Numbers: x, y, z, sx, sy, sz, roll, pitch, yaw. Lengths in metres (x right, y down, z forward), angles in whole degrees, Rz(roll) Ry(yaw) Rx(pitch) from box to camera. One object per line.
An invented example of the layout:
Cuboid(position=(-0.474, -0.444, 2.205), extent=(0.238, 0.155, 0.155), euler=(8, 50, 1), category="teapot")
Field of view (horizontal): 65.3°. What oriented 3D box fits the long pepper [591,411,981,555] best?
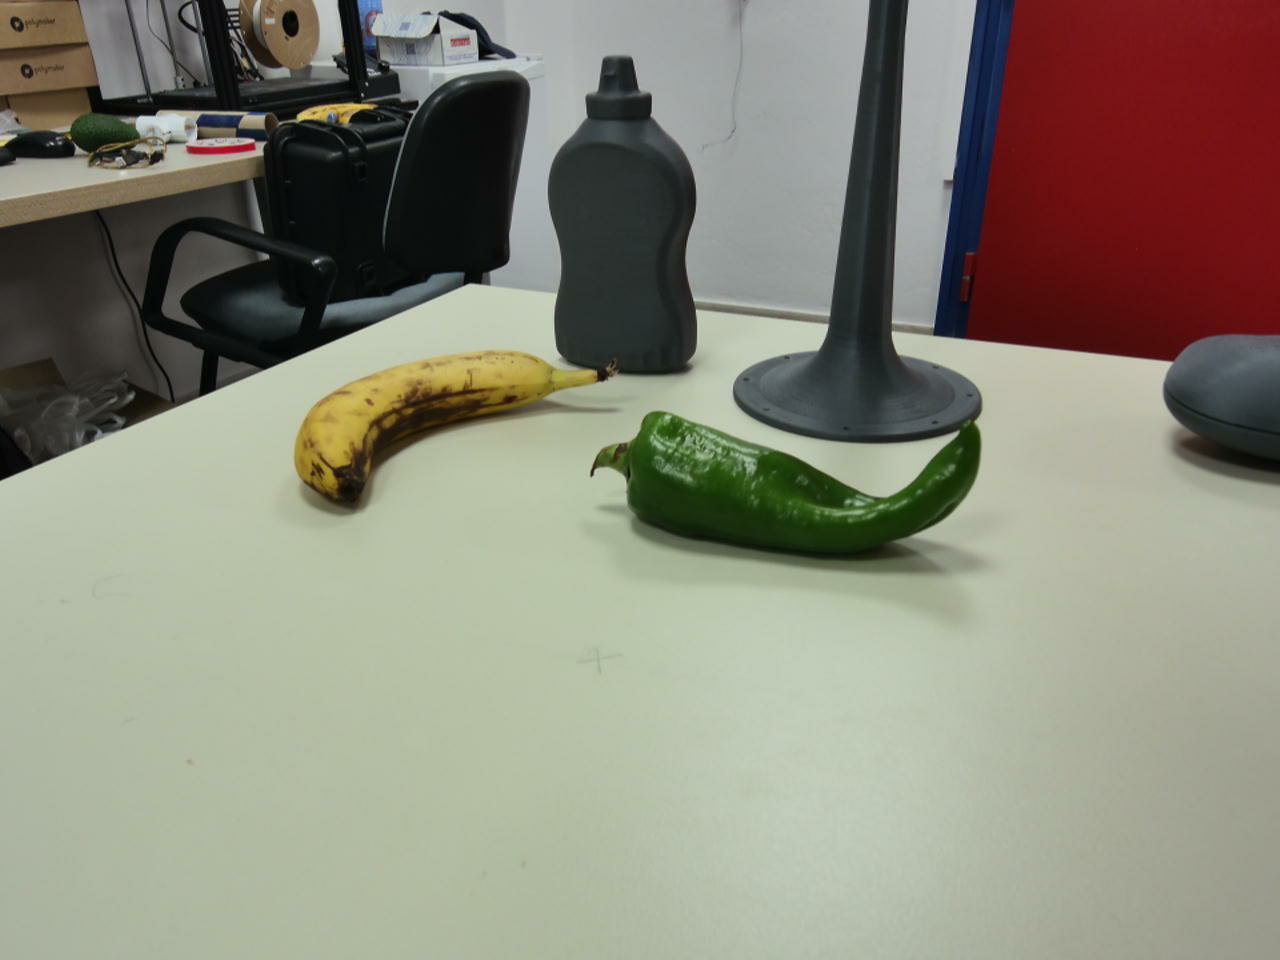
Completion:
Cuboid(position=(0.058, -0.004, 0.446), extent=(0.175, 0.065, 0.058), euler=(10, 26, 22), category="long pepper")
